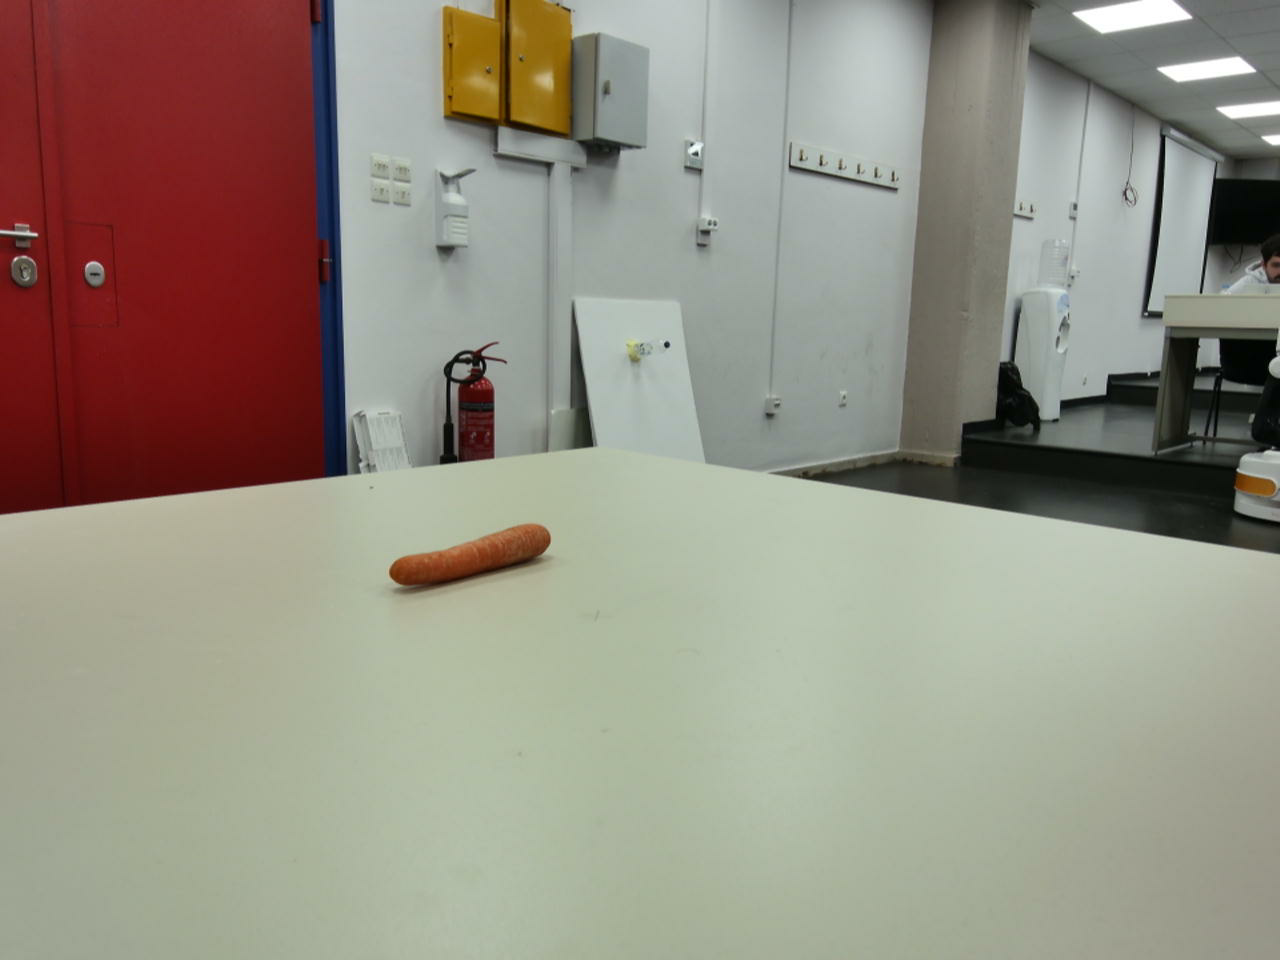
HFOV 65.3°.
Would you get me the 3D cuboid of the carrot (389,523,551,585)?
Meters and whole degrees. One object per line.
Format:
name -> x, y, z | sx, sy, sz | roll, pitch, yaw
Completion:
carrot -> -0.100, 0.045, 0.606 | 0.024, 0.023, 0.122 | 7, 11, 39
